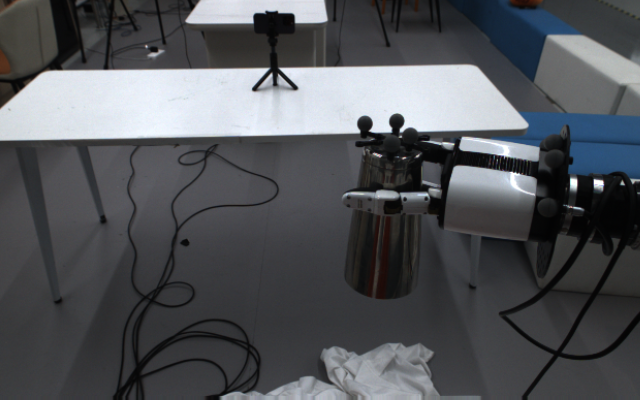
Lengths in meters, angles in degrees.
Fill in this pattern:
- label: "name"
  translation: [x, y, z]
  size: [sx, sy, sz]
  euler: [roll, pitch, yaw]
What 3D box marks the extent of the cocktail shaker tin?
- label: "cocktail shaker tin"
  translation: [0.081, 0.016, 0.569]
  size: [0.093, 0.170, 0.093]
  euler: [1, 27, -1]
